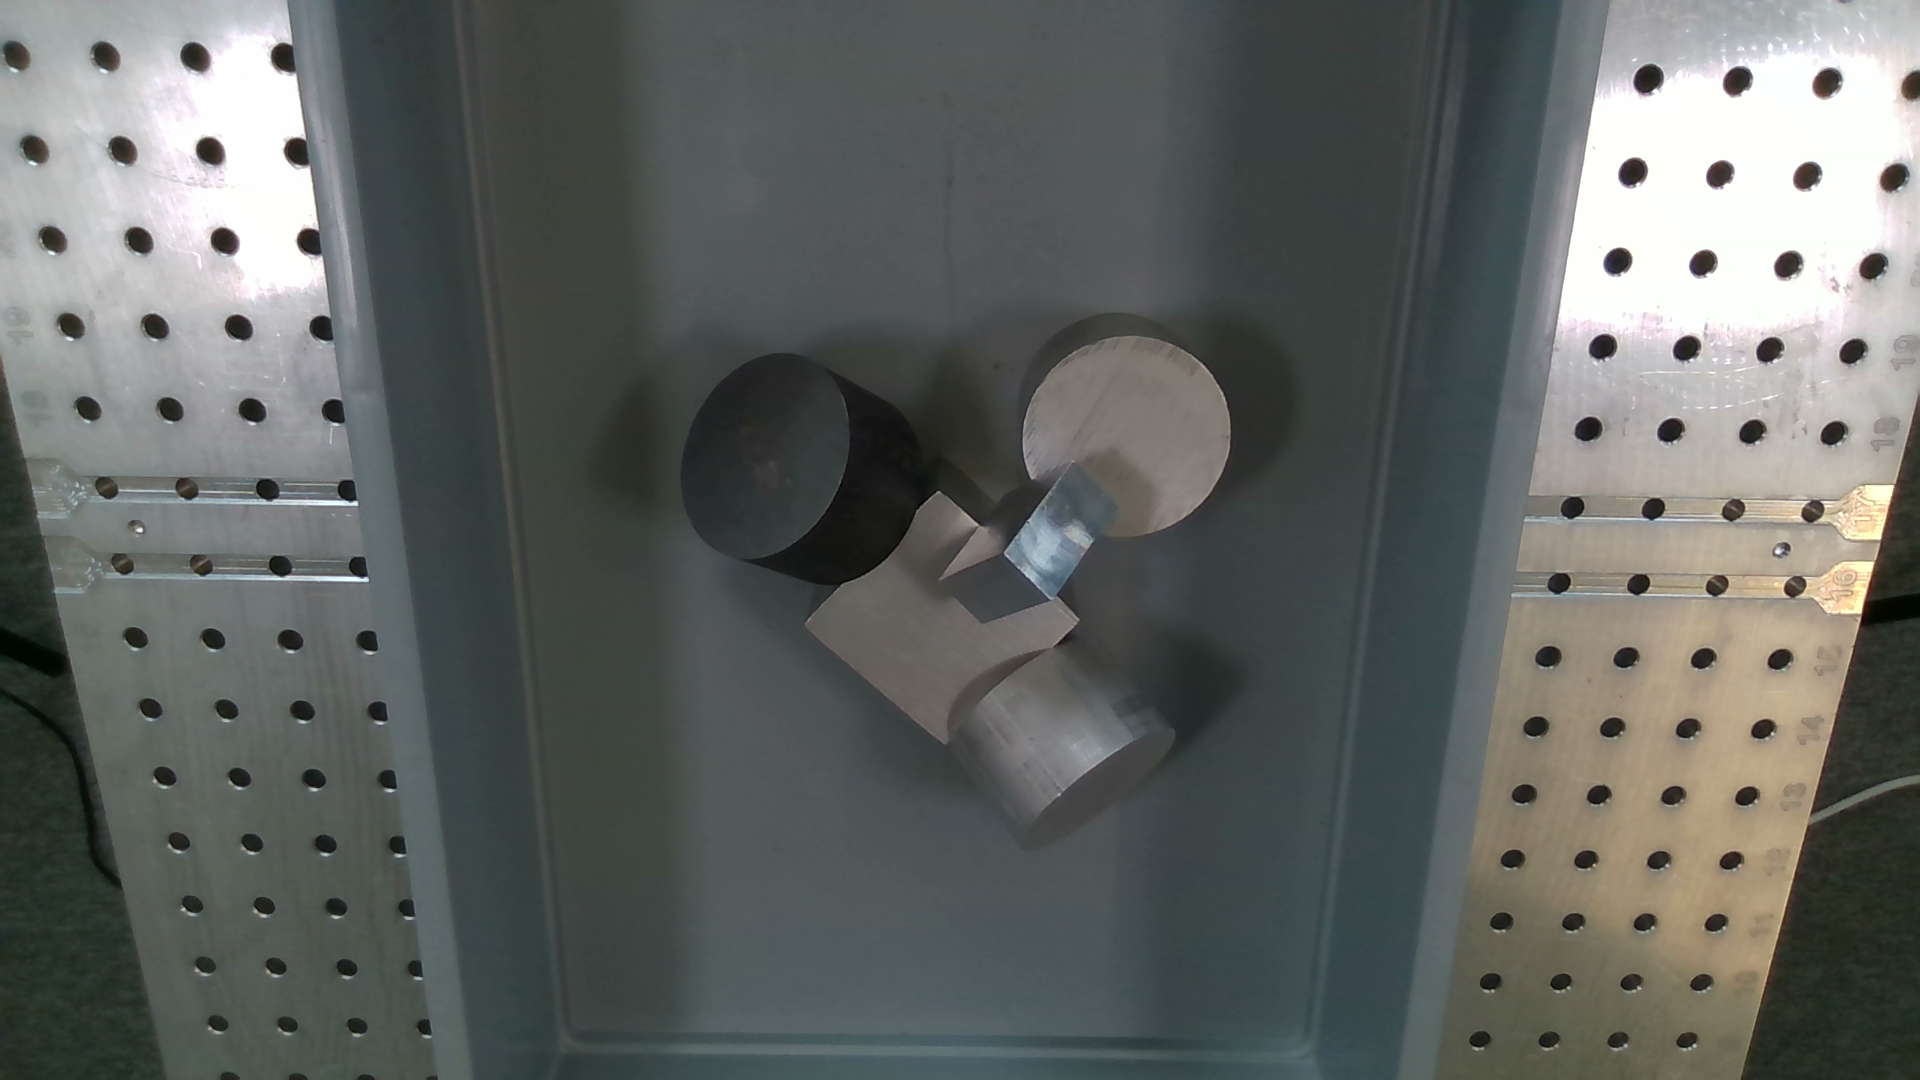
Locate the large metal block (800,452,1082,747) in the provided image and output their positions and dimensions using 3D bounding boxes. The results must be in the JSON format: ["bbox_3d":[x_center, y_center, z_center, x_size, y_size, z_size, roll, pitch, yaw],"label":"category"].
[{"bbox_3d":[-0.008,0.025,0.577,0.080,0.050,0.080,42,105,-14],"label":"large metal block"}]

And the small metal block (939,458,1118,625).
[{"bbox_3d":[0.025,0.001,0.518,0.025,0.050,0.050,44,61,-13],"label":"small metal block"}]

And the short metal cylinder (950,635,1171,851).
[{"bbox_3d":[0.043,0.085,0.579,0.080,0.080,0.050,-45,65,15],"label":"short metal cylinder"}]

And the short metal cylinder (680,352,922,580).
[{"bbox_3d":[-0.062,-0.027,0.538,0.080,0.050,0.080,-9,73,30],"label":"short metal cylinder"}]

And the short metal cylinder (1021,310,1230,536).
[{"bbox_3d":[0.064,-0.048,0.553,0.080,0.050,0.080,0,110,0],"label":"short metal cylinder"}]
